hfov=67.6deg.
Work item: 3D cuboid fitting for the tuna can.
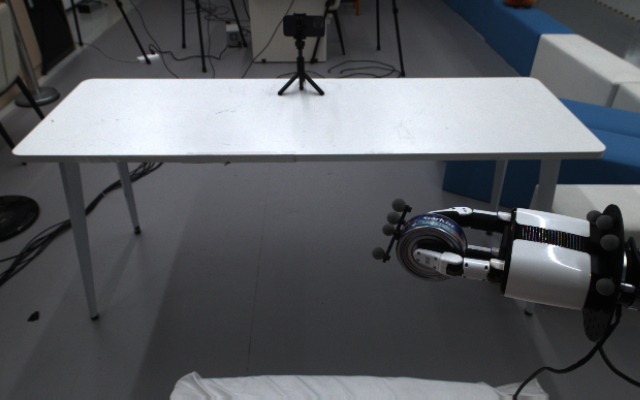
[{"bbox_3d":[0.144,0.059,0.617,0.085,0.085,0.034,12,29,14],"label":"tuna can"}]
